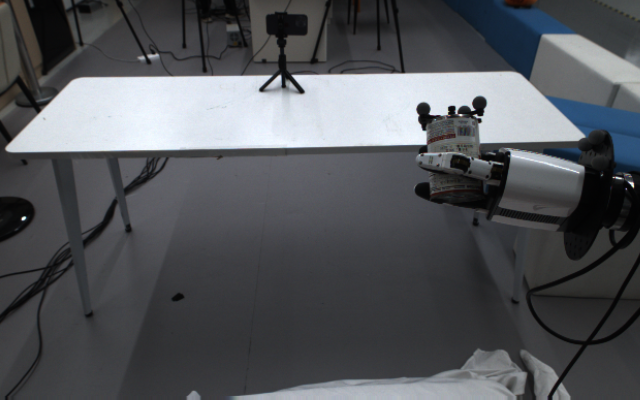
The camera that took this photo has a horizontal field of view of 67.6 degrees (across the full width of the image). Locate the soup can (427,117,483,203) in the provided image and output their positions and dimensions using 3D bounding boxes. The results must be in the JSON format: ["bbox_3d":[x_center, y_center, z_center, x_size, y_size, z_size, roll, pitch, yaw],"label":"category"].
[{"bbox_3d":[0.174,-0.051,0.620,0.067,0.101,0.067,-1,-9,0],"label":"soup can"}]
